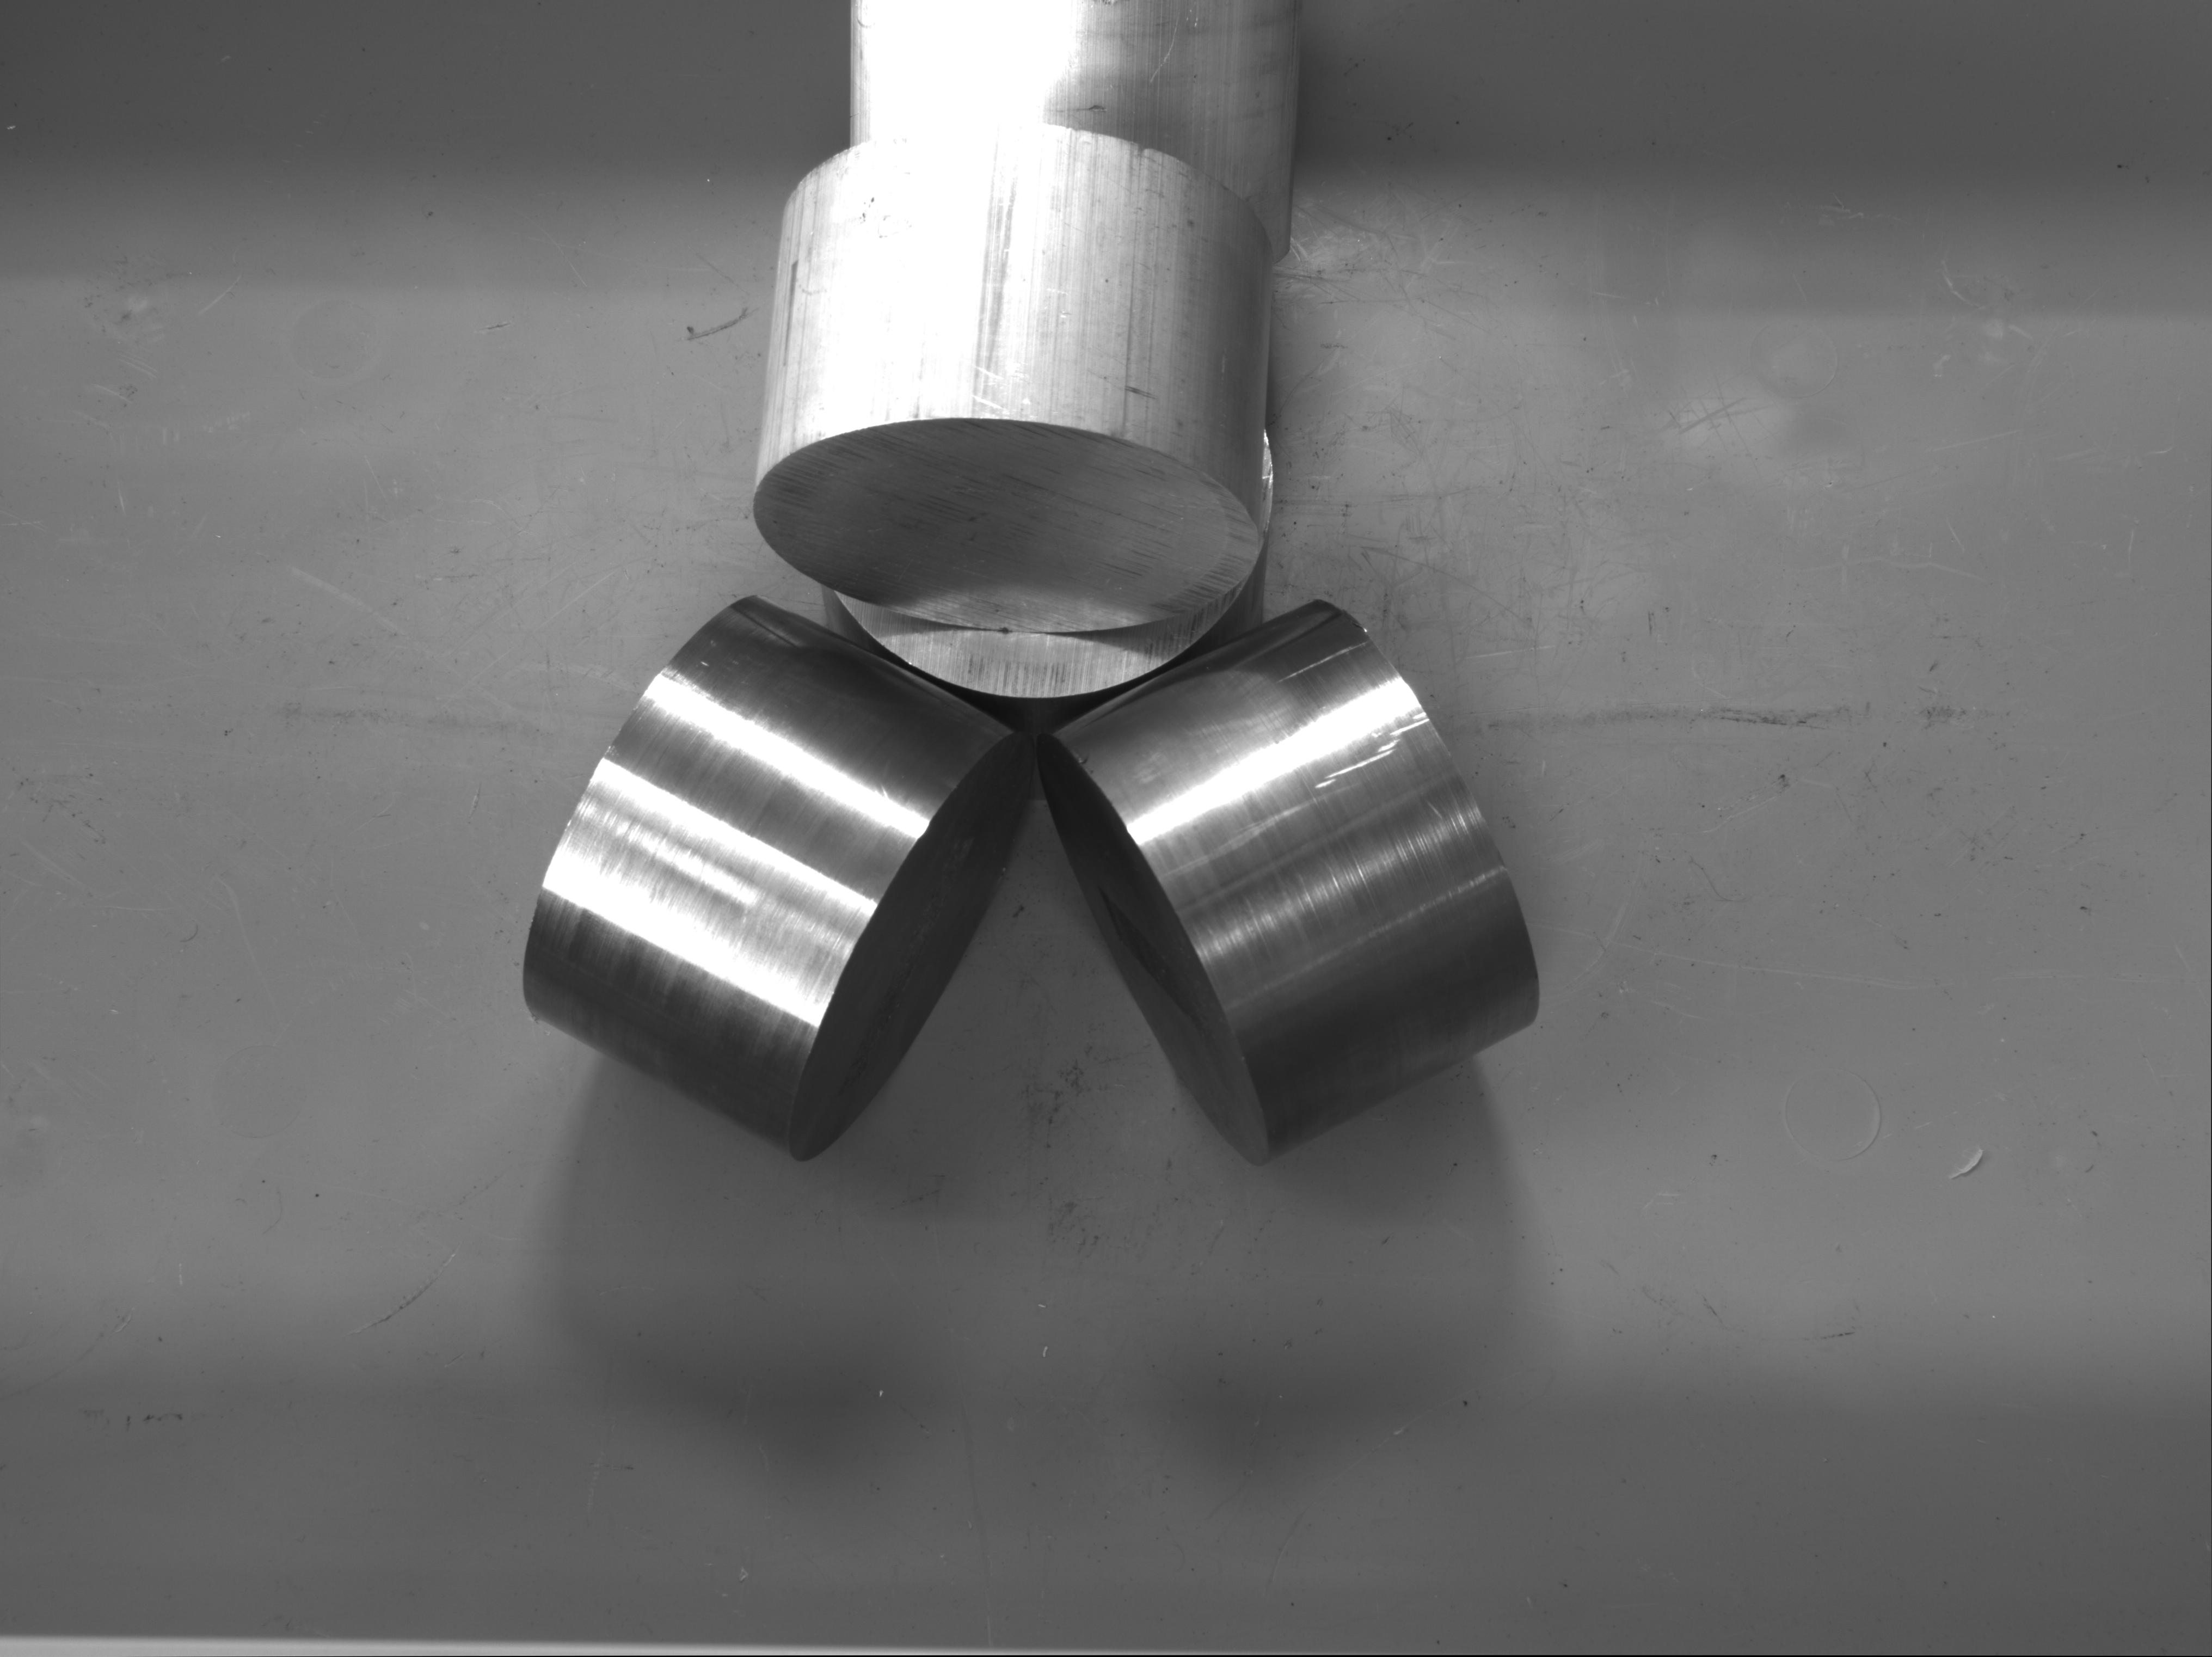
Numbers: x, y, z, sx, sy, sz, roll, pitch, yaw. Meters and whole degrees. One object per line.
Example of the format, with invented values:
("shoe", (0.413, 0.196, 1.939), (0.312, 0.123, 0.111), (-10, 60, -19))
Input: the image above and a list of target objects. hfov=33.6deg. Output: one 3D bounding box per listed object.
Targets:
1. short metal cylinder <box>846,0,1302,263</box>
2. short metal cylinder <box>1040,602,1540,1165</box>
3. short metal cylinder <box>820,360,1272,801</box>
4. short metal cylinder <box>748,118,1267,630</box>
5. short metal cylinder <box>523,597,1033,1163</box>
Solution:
("short metal cylinder", (-0.006, -0.131, 0.656), (0.080, 0.080, 0.050), (4, 112, 2))
("short metal cylinder", (0.030, 0.009, 0.611), (0.050, 0.080, 0.080), (-27, 72, -9))
("short metal cylinder", (-0.012, -0.051, 0.648), (0.080, 0.050, 0.080), (0, 70, 0))
("short metal cylinder", (-0.015, -0.071, 0.586), (0.080, 0.080, 0.050), (3, 70, 1))
("short metal cylinder", (-0.054, 0.008, 0.611), (0.050, 0.080, 0.080), (27, 72, 10))
